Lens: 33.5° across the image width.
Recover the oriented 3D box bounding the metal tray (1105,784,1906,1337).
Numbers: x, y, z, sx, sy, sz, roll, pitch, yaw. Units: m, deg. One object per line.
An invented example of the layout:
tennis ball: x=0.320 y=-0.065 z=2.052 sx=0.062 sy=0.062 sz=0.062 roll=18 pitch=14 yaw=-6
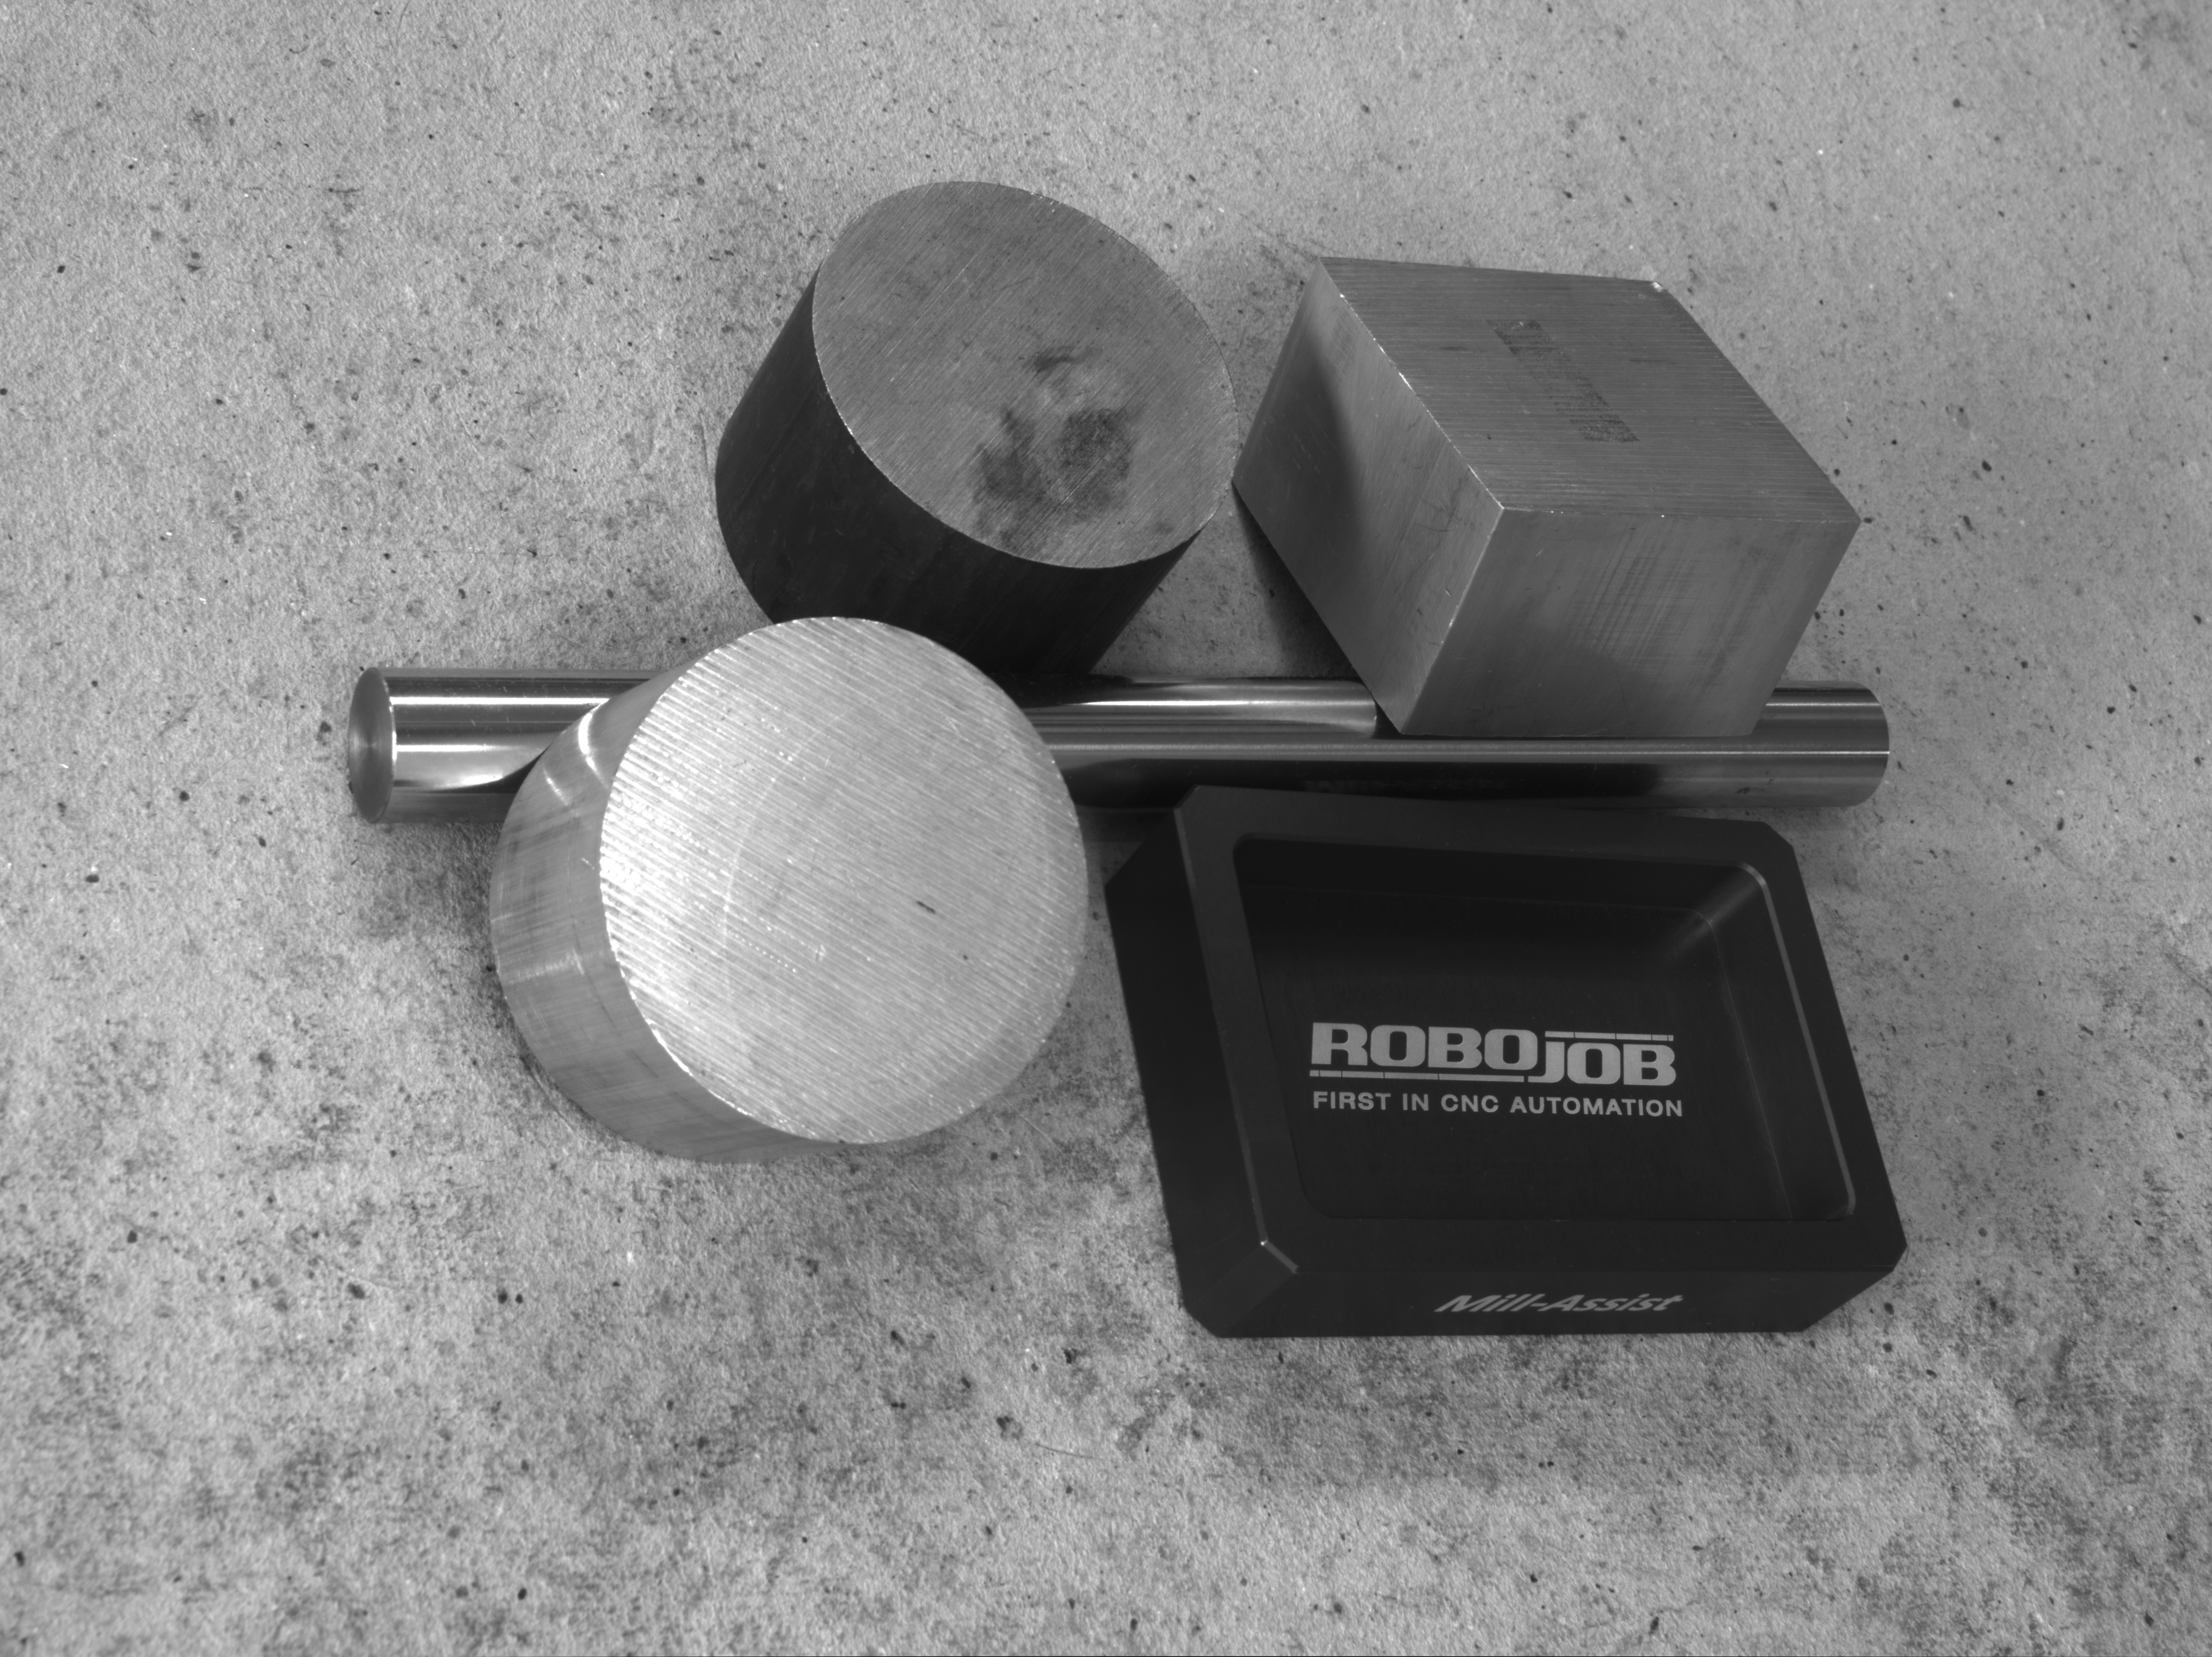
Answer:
metal tray: x=0.070 y=0.042 z=0.648 sx=0.130 sy=0.030 sz=0.090 roll=3 pitch=60 yaw=-26

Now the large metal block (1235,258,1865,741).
large metal block: x=0.080 y=-0.061 z=0.688 sx=0.080 sy=0.050 sz=0.080 roll=-1 pitch=41 yaw=-28

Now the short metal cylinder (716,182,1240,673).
short metal cylinder: x=-0.023 y=-0.067 z=0.652 sx=0.080 sy=0.050 sz=0.080 roll=14 pitch=55 yaw=-20

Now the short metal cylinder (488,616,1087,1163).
short metal cylinder: x=-0.050 y=0.011 z=0.575 sx=0.080 sy=0.050 sz=0.080 roll=5 pitch=80 yaw=-28

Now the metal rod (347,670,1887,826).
metal rod: x=0.015 y=-0.014 z=0.658 sx=0.301 sy=0.025 sz=0.025 roll=-1 pitch=62 yaw=-28
